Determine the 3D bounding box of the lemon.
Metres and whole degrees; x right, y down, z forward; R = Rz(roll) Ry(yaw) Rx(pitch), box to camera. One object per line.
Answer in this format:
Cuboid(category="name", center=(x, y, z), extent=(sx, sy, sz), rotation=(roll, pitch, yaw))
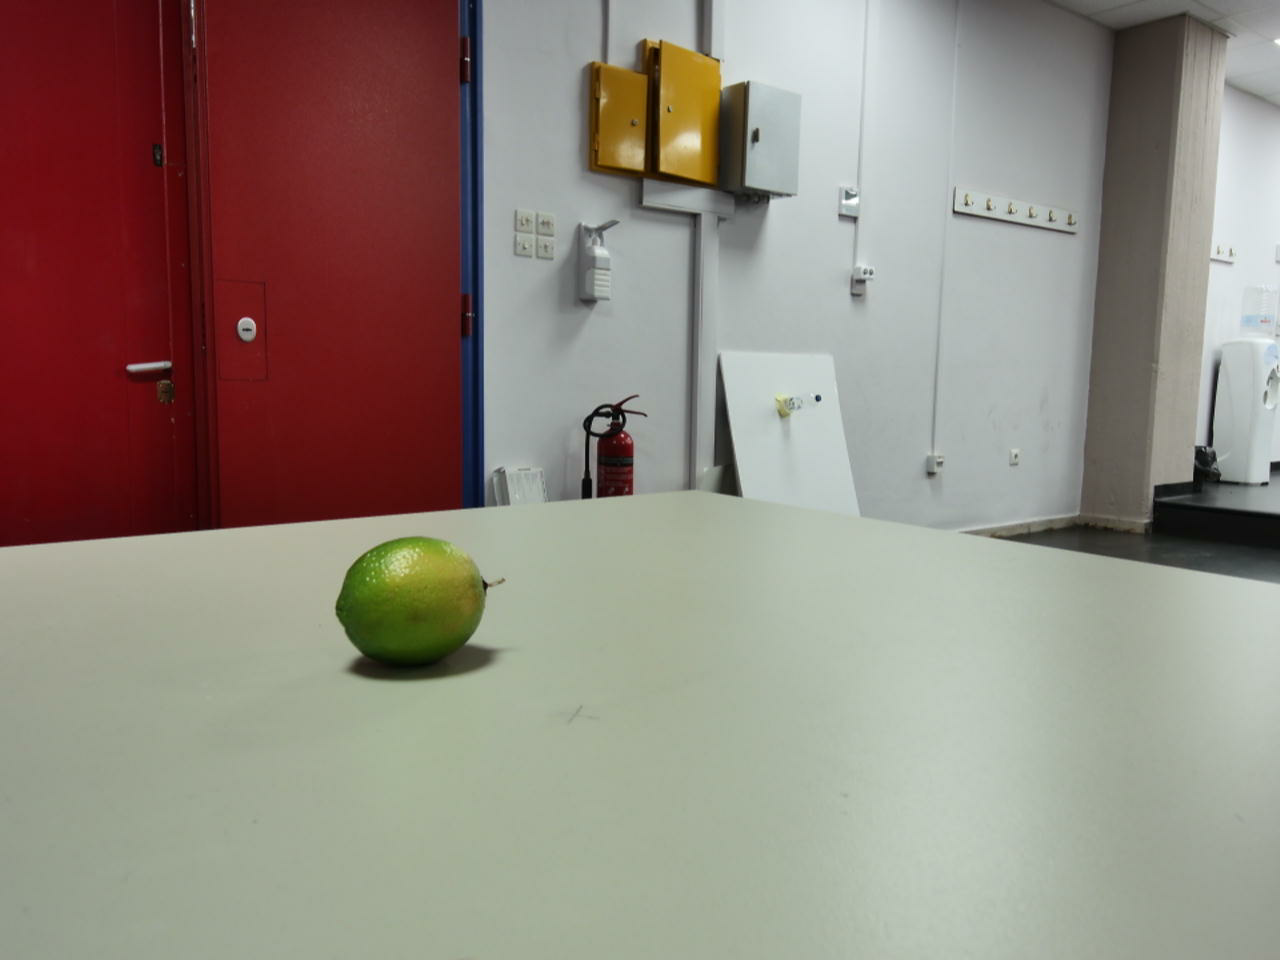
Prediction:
Cuboid(category="lemon", center=(-0.092, 0.048, 0.402), extent=(0.055, 0.050, 0.054), rotation=(0, 4, 12))
